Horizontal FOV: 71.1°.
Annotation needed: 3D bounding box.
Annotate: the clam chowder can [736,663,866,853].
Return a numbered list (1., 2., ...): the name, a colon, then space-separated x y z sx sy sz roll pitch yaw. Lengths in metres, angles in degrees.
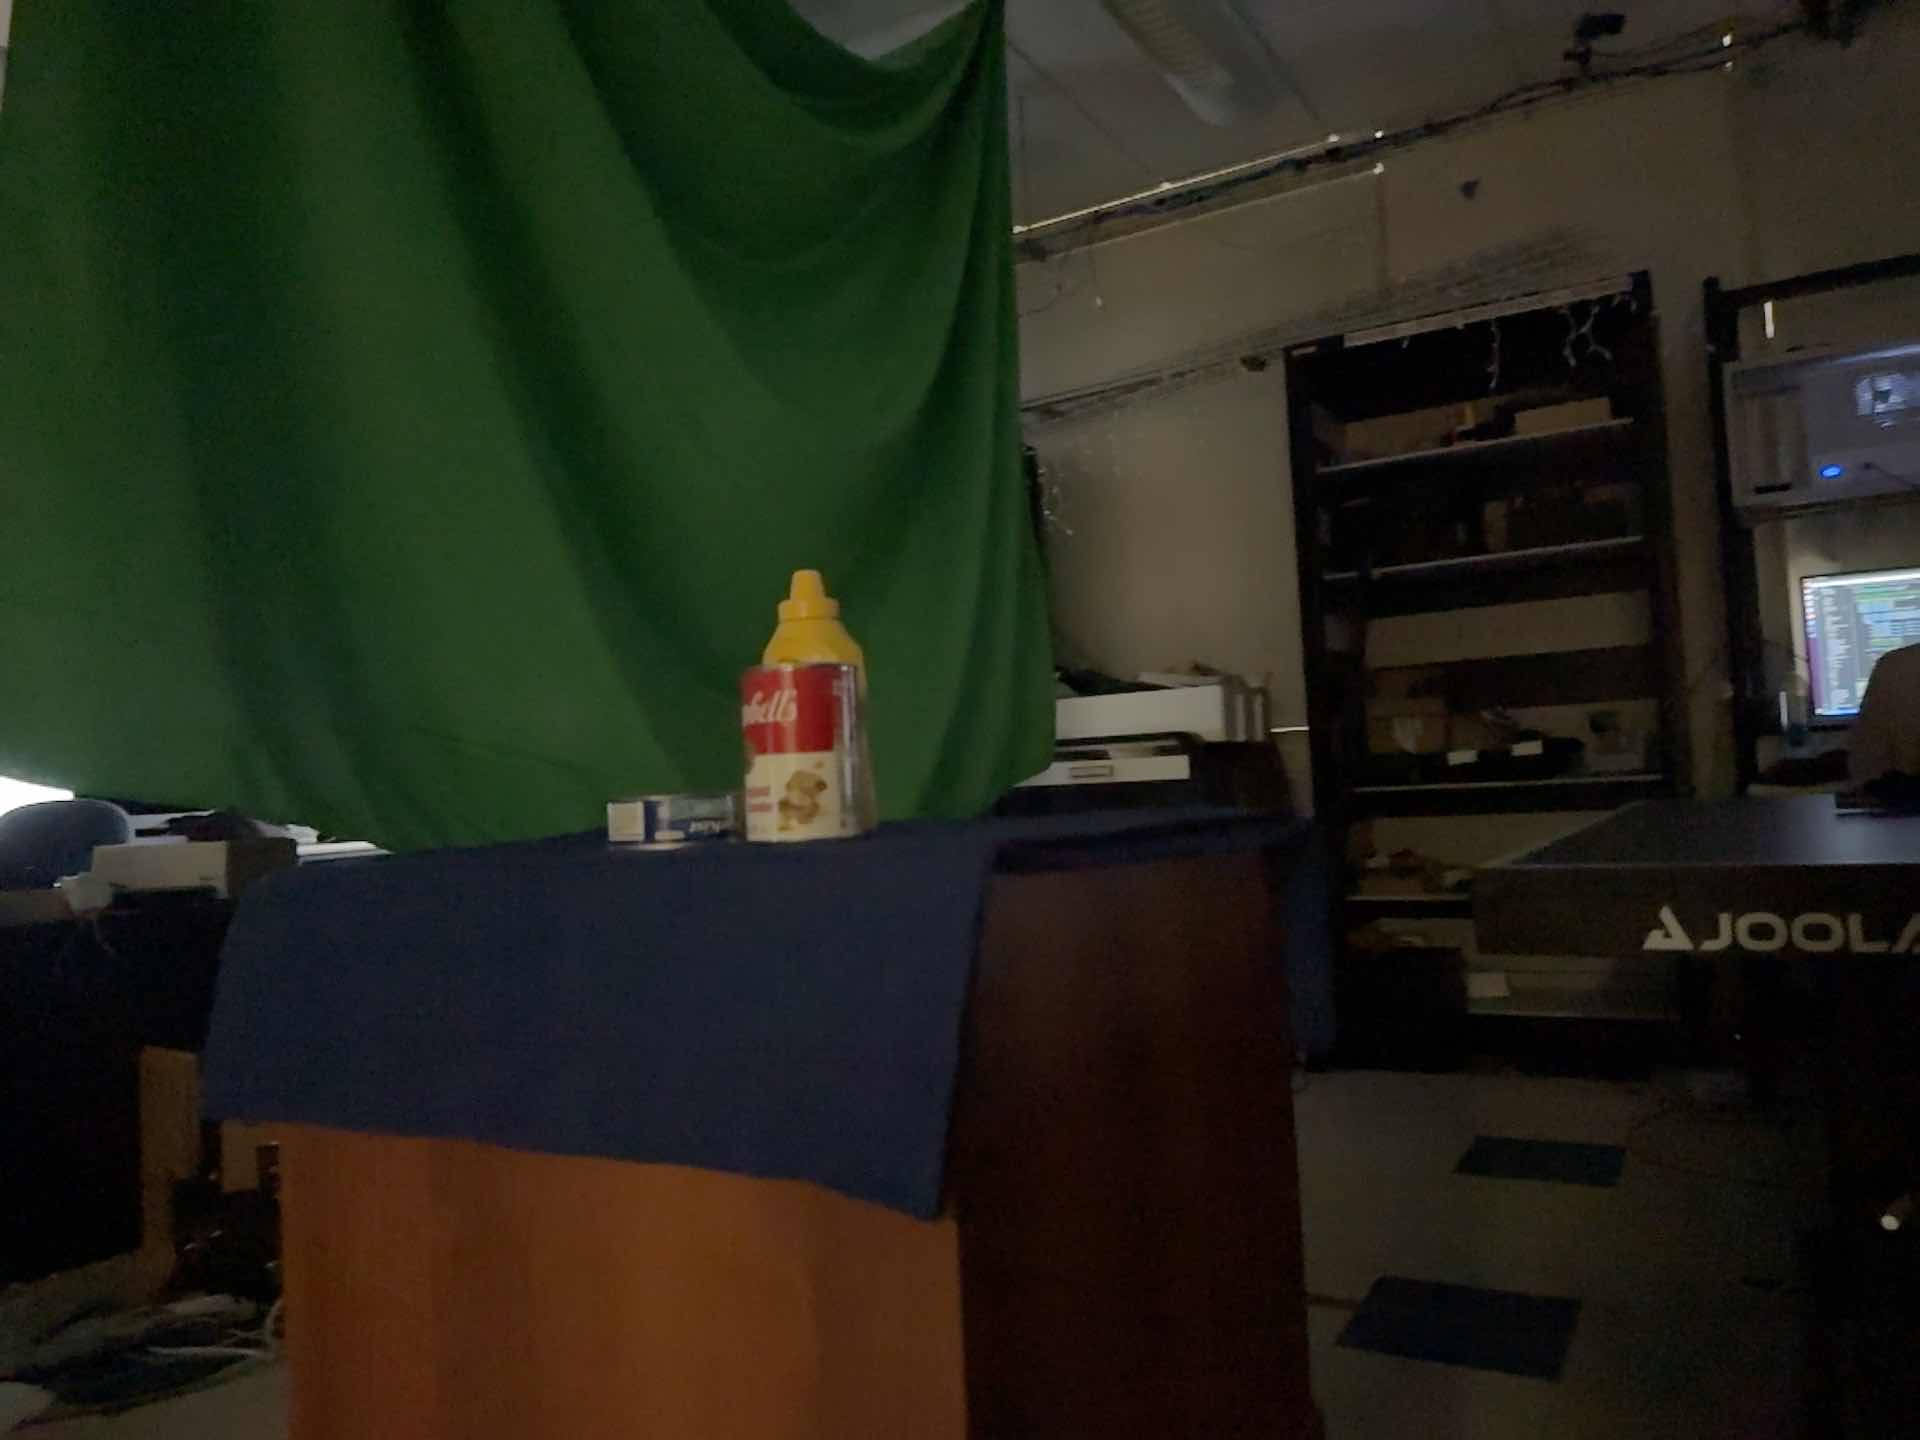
1. clam chowder can: -0.090 0.021 0.764 0.068 0.102 0.068 -4 1 0

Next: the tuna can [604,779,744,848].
1. tuna can: -0.179 0.057 0.841 0.083 0.034 0.083 -4 0 0

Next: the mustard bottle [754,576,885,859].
1. mustard bottle: -0.098 -0.003 0.885 0.054 0.184 0.092 -7 2 -44
